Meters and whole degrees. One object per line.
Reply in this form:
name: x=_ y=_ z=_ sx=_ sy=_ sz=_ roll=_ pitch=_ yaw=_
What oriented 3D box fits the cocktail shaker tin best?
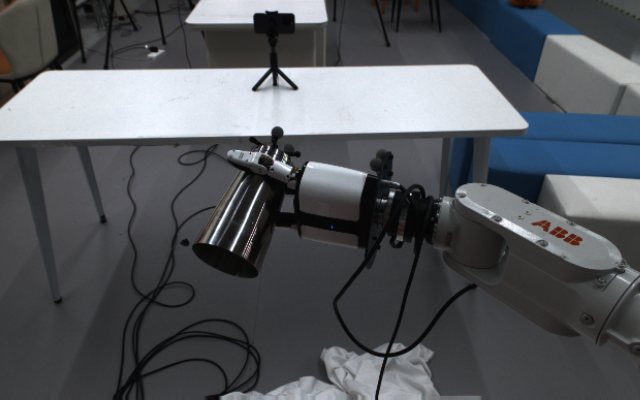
cocktail shaker tin: x=-0.096 y=0.007 z=0.661 sx=0.093 sy=0.093 sz=0.170 roll=13 pitch=59 yaw=16
